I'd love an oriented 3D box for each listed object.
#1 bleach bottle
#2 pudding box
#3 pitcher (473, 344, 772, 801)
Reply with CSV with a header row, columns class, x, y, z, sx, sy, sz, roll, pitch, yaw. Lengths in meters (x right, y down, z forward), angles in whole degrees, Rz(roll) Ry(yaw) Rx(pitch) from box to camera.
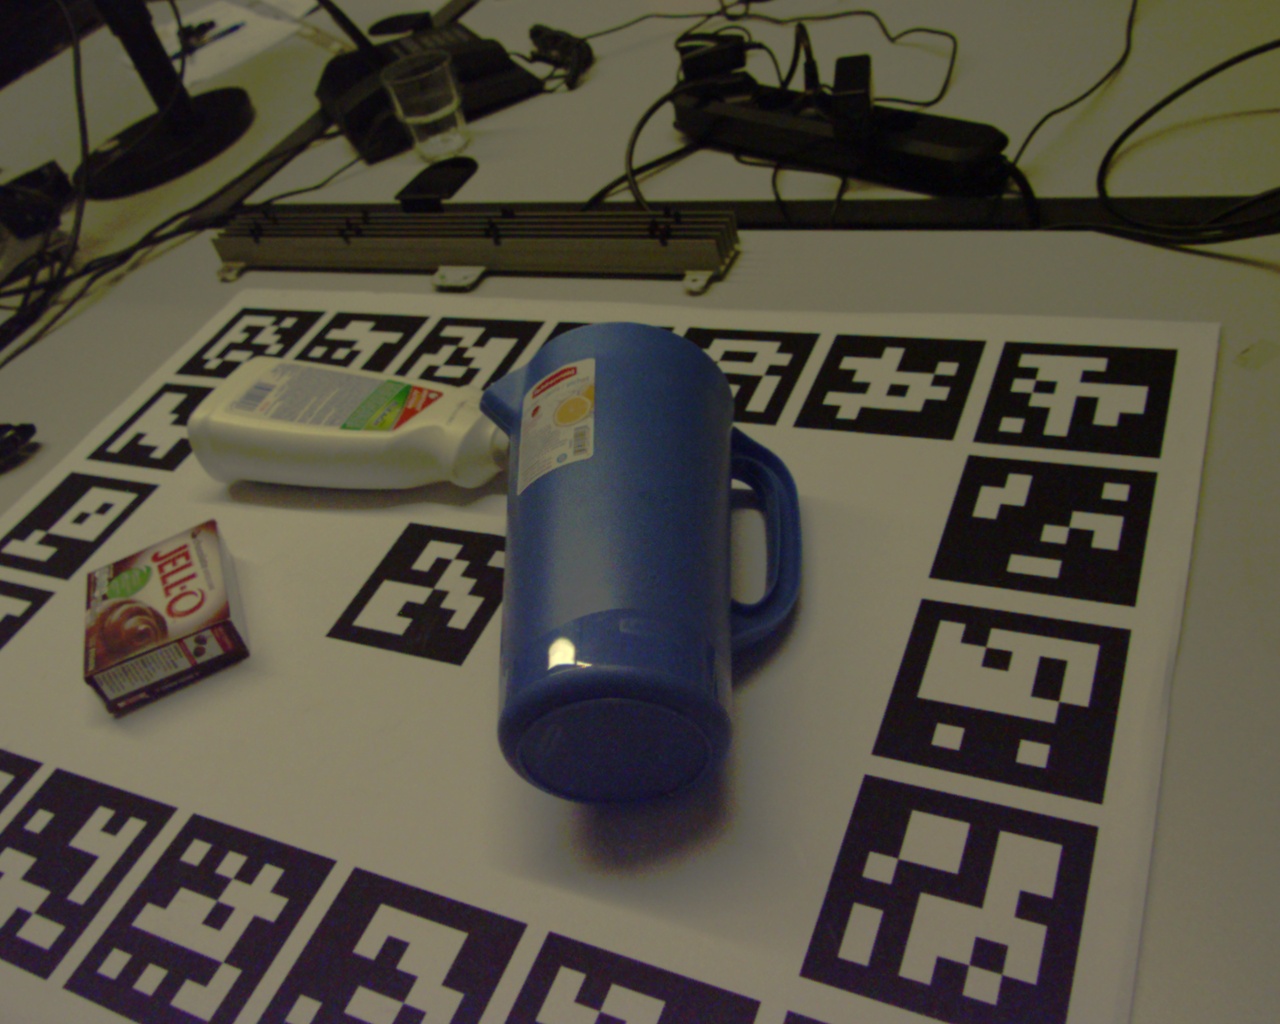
class,x,y,z,sx,sy,sz,roll,pitch,yaw
bleach bottle,-0.199,-0.060,0.833,0.253,0.067,0.102,6,52,23
pudding box,-0.317,0.060,0.760,0.089,0.038,0.115,-20,43,-10
pitcher,-0.010,0.033,0.641,0.187,0.134,0.243,13,46,-16
